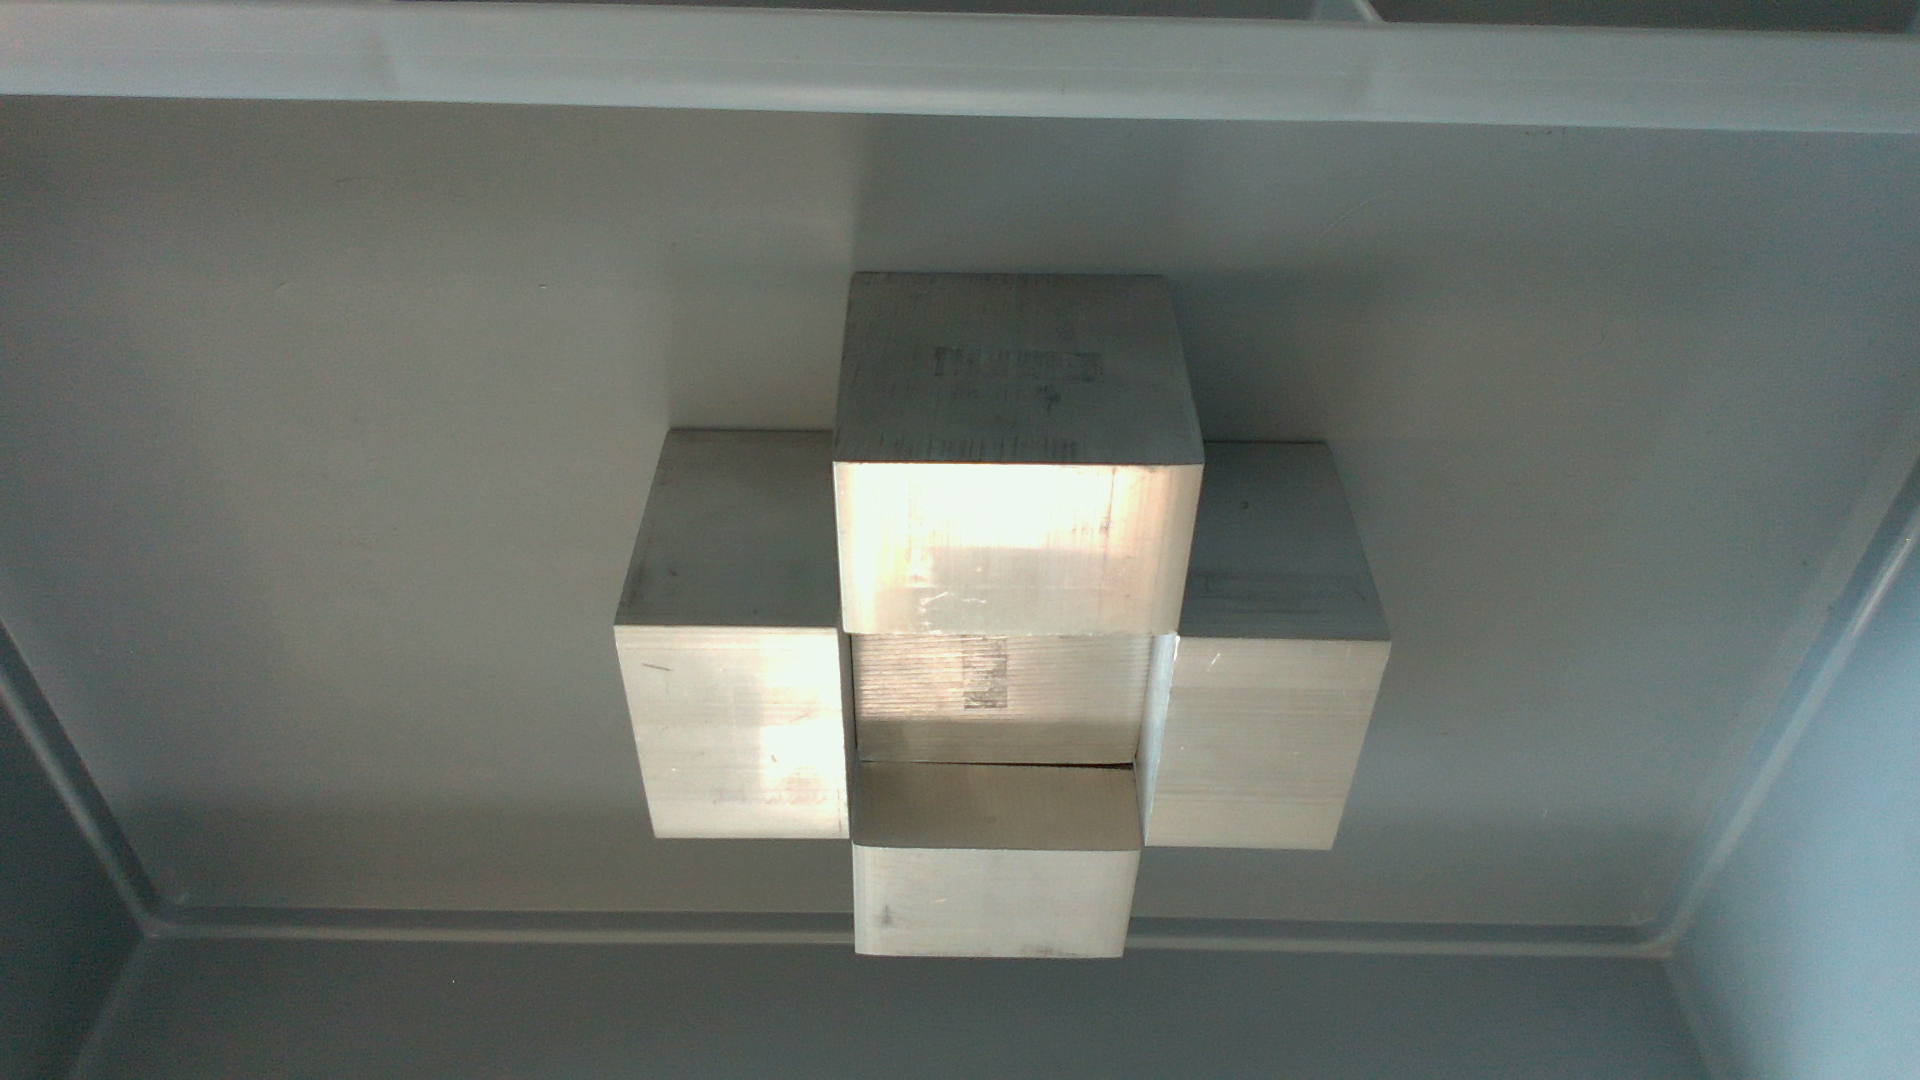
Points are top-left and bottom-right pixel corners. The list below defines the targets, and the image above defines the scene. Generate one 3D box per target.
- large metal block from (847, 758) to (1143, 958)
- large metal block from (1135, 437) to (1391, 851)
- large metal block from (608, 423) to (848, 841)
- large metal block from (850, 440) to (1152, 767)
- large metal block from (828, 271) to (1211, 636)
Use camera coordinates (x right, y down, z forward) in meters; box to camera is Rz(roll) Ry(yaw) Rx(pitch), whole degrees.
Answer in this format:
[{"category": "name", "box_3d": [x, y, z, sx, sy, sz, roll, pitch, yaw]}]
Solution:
[{"category": "large metal block", "box_3d": [0.009, 0.077, 0.418, 0.080, 0.080, 0.050, 1, 130, -1]}, {"category": "large metal block", "box_3d": [0.076, 0.028, 0.378, 0.050, 0.080, 0.080, 0, 130, 0]}, {"category": "large metal block", "box_3d": [-0.056, 0.024, 0.374, 0.050, 0.080, 0.080, 0, 130, 0]}, {"category": "large metal block", "box_3d": [0.011, 0.018, 0.387, 0.080, 0.050, 0.080, 0, 130, -1]}, {"category": "large metal block", "box_3d": [0.012, -0.023, 0.334, 0.080, 0.080, 0.050, 1, 130, -1]}]
